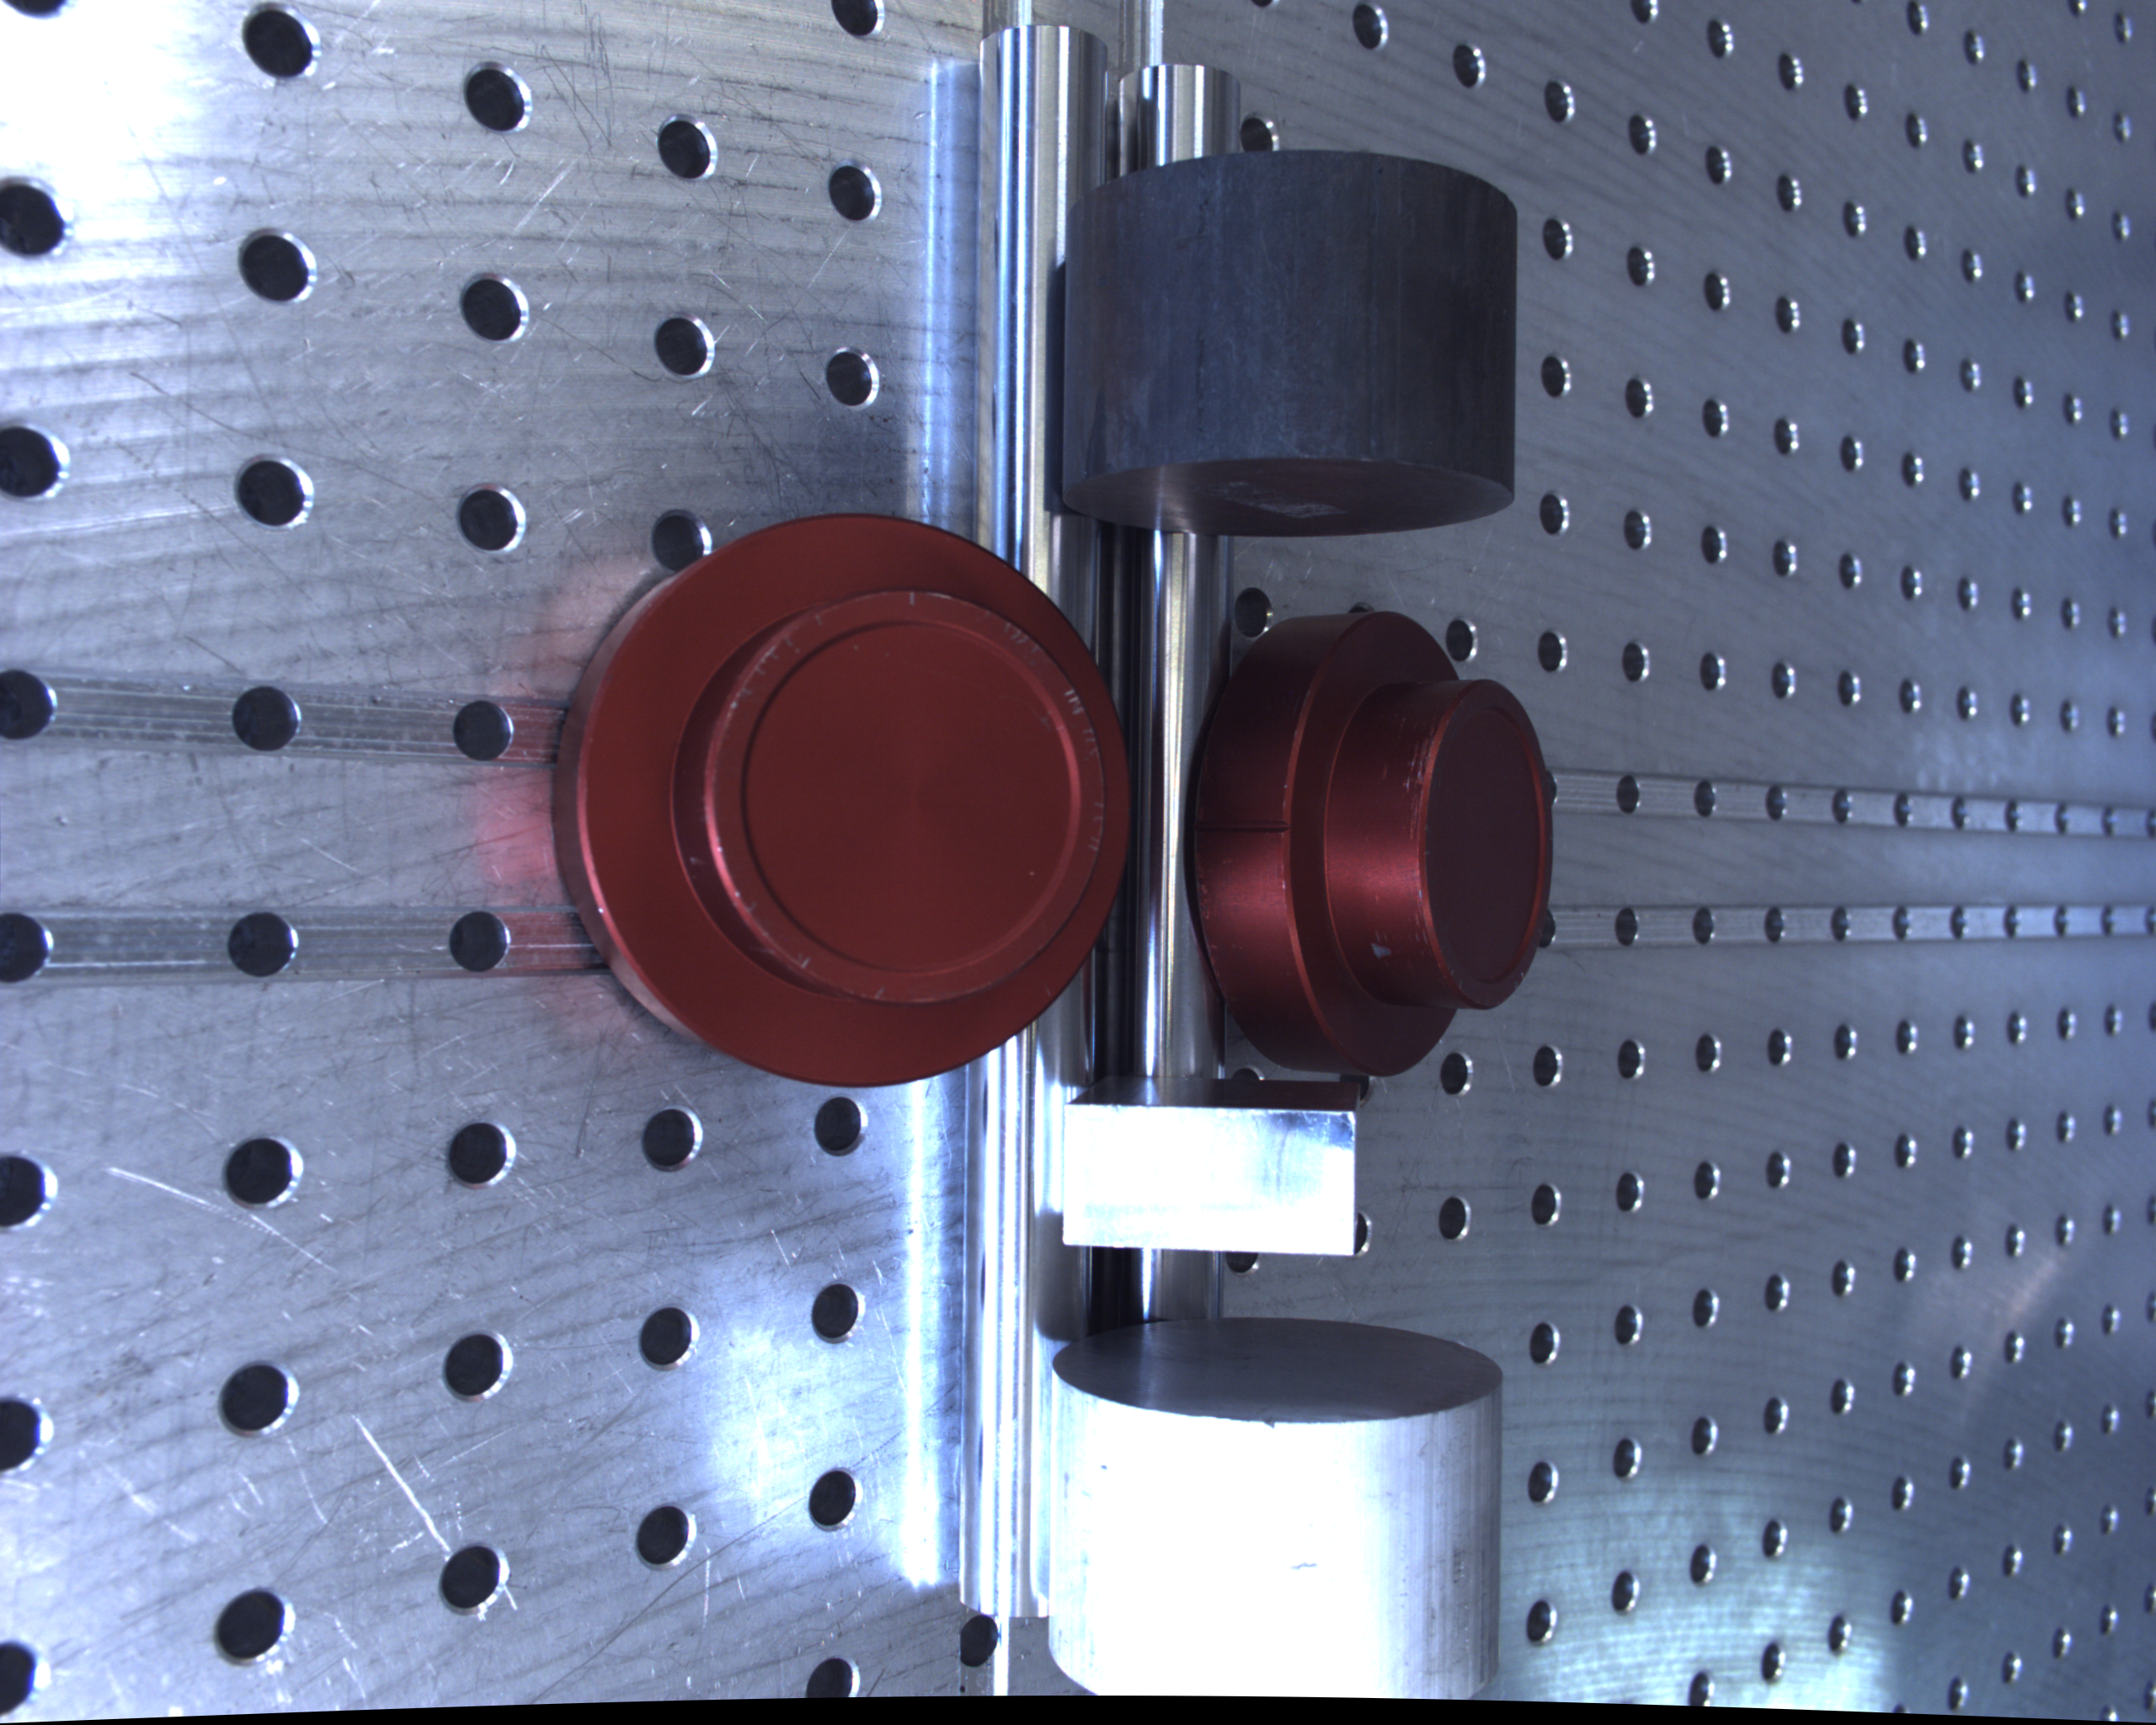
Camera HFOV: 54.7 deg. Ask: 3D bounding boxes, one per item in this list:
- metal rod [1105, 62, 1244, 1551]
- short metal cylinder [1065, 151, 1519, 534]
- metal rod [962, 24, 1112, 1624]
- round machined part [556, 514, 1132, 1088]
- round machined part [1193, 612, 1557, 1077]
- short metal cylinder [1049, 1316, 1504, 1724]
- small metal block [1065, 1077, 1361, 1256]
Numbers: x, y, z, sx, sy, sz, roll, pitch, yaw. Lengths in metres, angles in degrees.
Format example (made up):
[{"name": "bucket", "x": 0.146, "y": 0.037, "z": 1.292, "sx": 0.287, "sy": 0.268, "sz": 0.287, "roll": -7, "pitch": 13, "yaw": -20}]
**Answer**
[{"name": "metal rod", "x": 0.019, "y": -0.009, "z": 0.424, "sx": 0.025, "sy": 0.025, "sz": 0.298, "roll": 1, "pitch": 89, "yaw": -40}, {"name": "short metal cylinder", "x": 0.038, "y": -0.090, "z": 0.376, "sx": 0.081, "sy": 0.080, "sz": 0.050, "roll": 1, "pitch": 90, "yaw": -40}, {"name": "metal rod", "x": -0.008, "y": -0.008, "z": 0.401, "sx": 0.025, "sy": 0.025, "sz": 0.298, "roll": 1, "pitch": 89, "yaw": -40}, {"name": "round machined part", "x": -0.034, "y": -0.010, "z": 0.353, "sx": 0.099, "sy": 0.042, "sz": 0.097, "roll": 0, "pitch": 90, "yaw": -26}, {"name": "round machined part", "x": 0.068, "y": -0.004, "z": 0.437, "sx": 0.099, "sy": 0.042, "sz": 0.097, "roll": -1, "pitch": 91, "yaw": -55}, {"name": "short metal cylinder", "x": 0.035, "y": 0.115, "z": 0.375, "sx": 0.081, "sy": 0.080, "sz": 0.050, "roll": 1, "pitch": 90, "yaw": -40}, {"name": "small metal block", "x": 0.027, "y": 0.055, "z": 0.385, "sx": 0.050, "sy": 0.050, "sz": 0.025, "roll": 6, "pitch": 85, "yaw": -82}]
